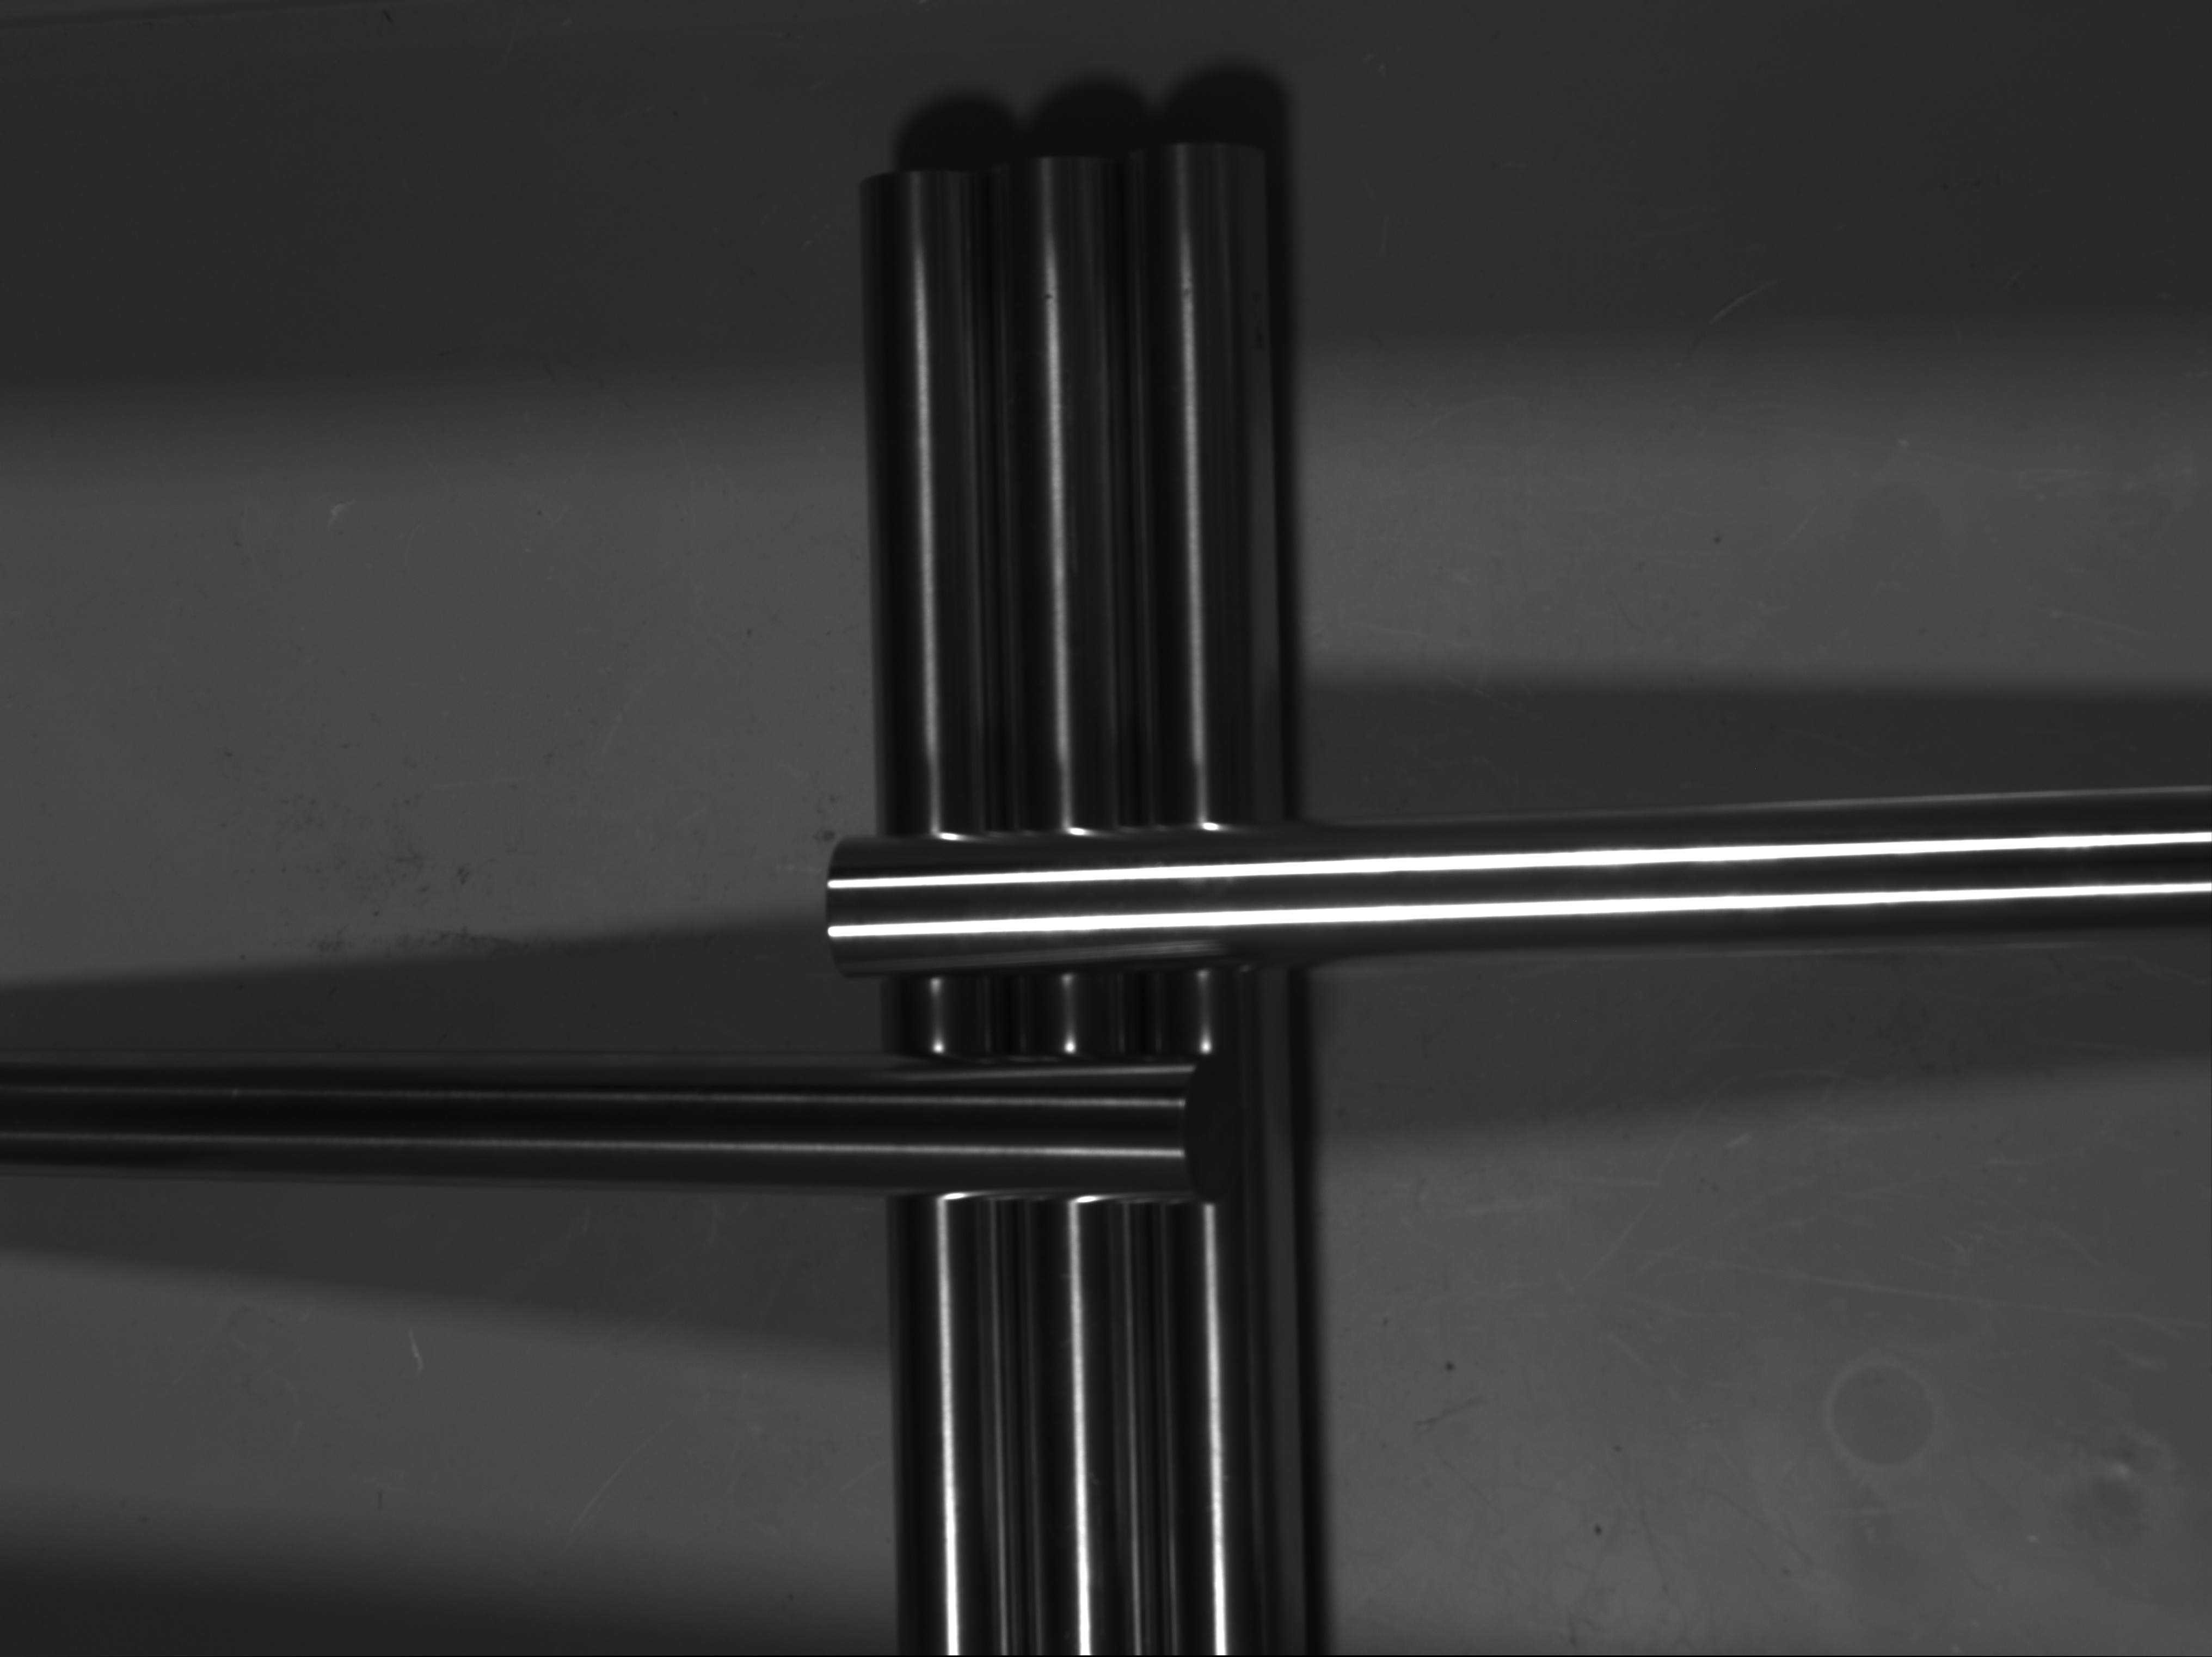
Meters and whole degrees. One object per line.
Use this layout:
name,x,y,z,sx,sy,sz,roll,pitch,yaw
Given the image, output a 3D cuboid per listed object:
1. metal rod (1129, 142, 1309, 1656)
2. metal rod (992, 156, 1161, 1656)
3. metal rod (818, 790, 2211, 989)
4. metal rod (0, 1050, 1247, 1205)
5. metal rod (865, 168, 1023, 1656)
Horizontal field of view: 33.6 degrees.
metal rod,0.020,0.033,0.636,0.025,0.025,0.300,-2,89,20
metal rod,-0.004,0.034,0.645,0.025,0.025,0.300,-2,89,20
metal rod,0.101,0.009,0.589,0.300,0.025,0.025,-2,89,13
metal rod,-0.117,0.053,0.668,0.299,0.025,0.025,-2,89,26
metal rod,-0.027,0.034,0.653,0.025,0.025,0.300,-2,89,20
